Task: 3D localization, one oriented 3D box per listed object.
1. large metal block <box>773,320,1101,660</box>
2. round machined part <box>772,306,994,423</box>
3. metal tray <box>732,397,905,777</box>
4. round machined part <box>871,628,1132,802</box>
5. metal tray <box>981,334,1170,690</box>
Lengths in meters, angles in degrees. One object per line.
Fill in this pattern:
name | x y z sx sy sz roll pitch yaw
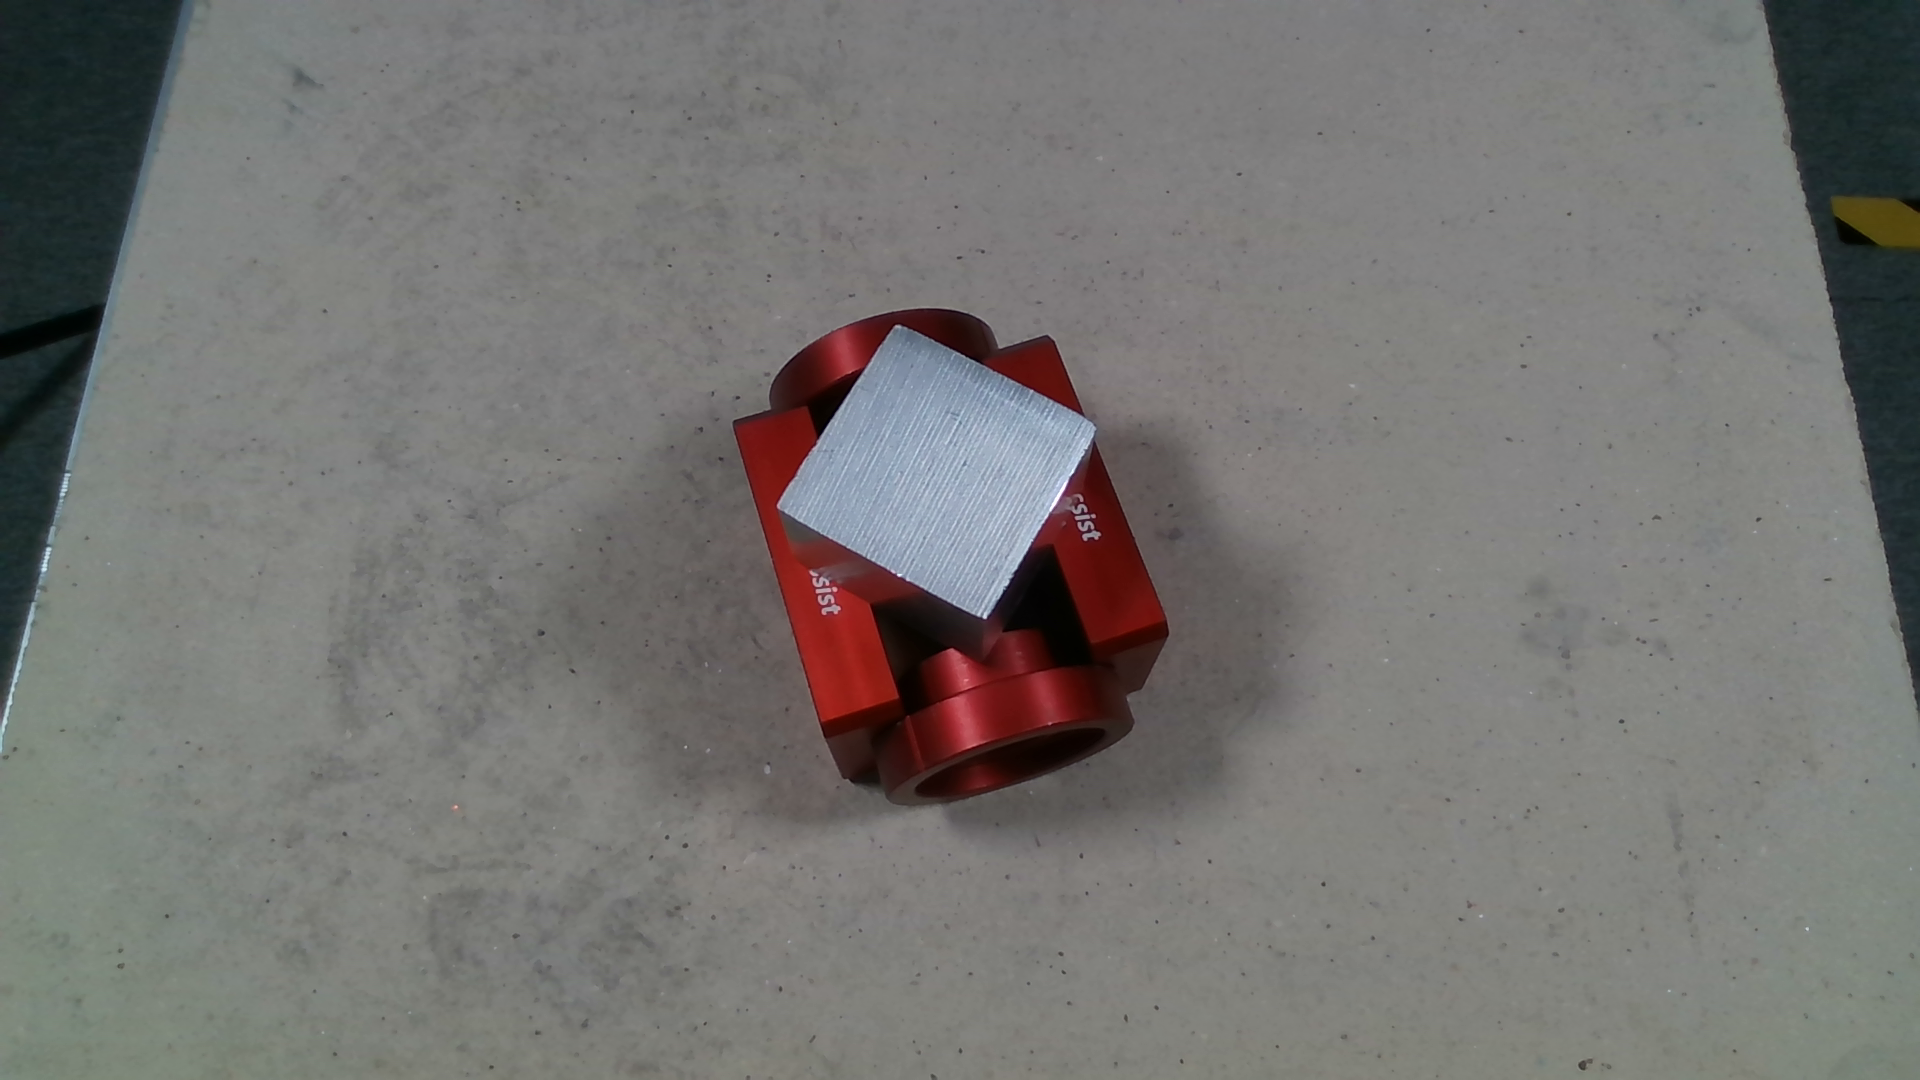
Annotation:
large metal block | -0.007 -0.017 0.483 0.080 0.050 0.080 28 73 10
round machined part | -0.026 -0.052 0.568 0.098 0.098 0.042 -15 71 -5
metal tray | -0.054 0.021 0.545 0.030 0.090 0.130 -17 71 -6
round machined part | 0.013 0.066 0.526 0.098 0.098 0.042 -15 71 -5
metal tray | 0.042 -0.005 0.557 0.030 0.090 0.130 -18 71 -6
